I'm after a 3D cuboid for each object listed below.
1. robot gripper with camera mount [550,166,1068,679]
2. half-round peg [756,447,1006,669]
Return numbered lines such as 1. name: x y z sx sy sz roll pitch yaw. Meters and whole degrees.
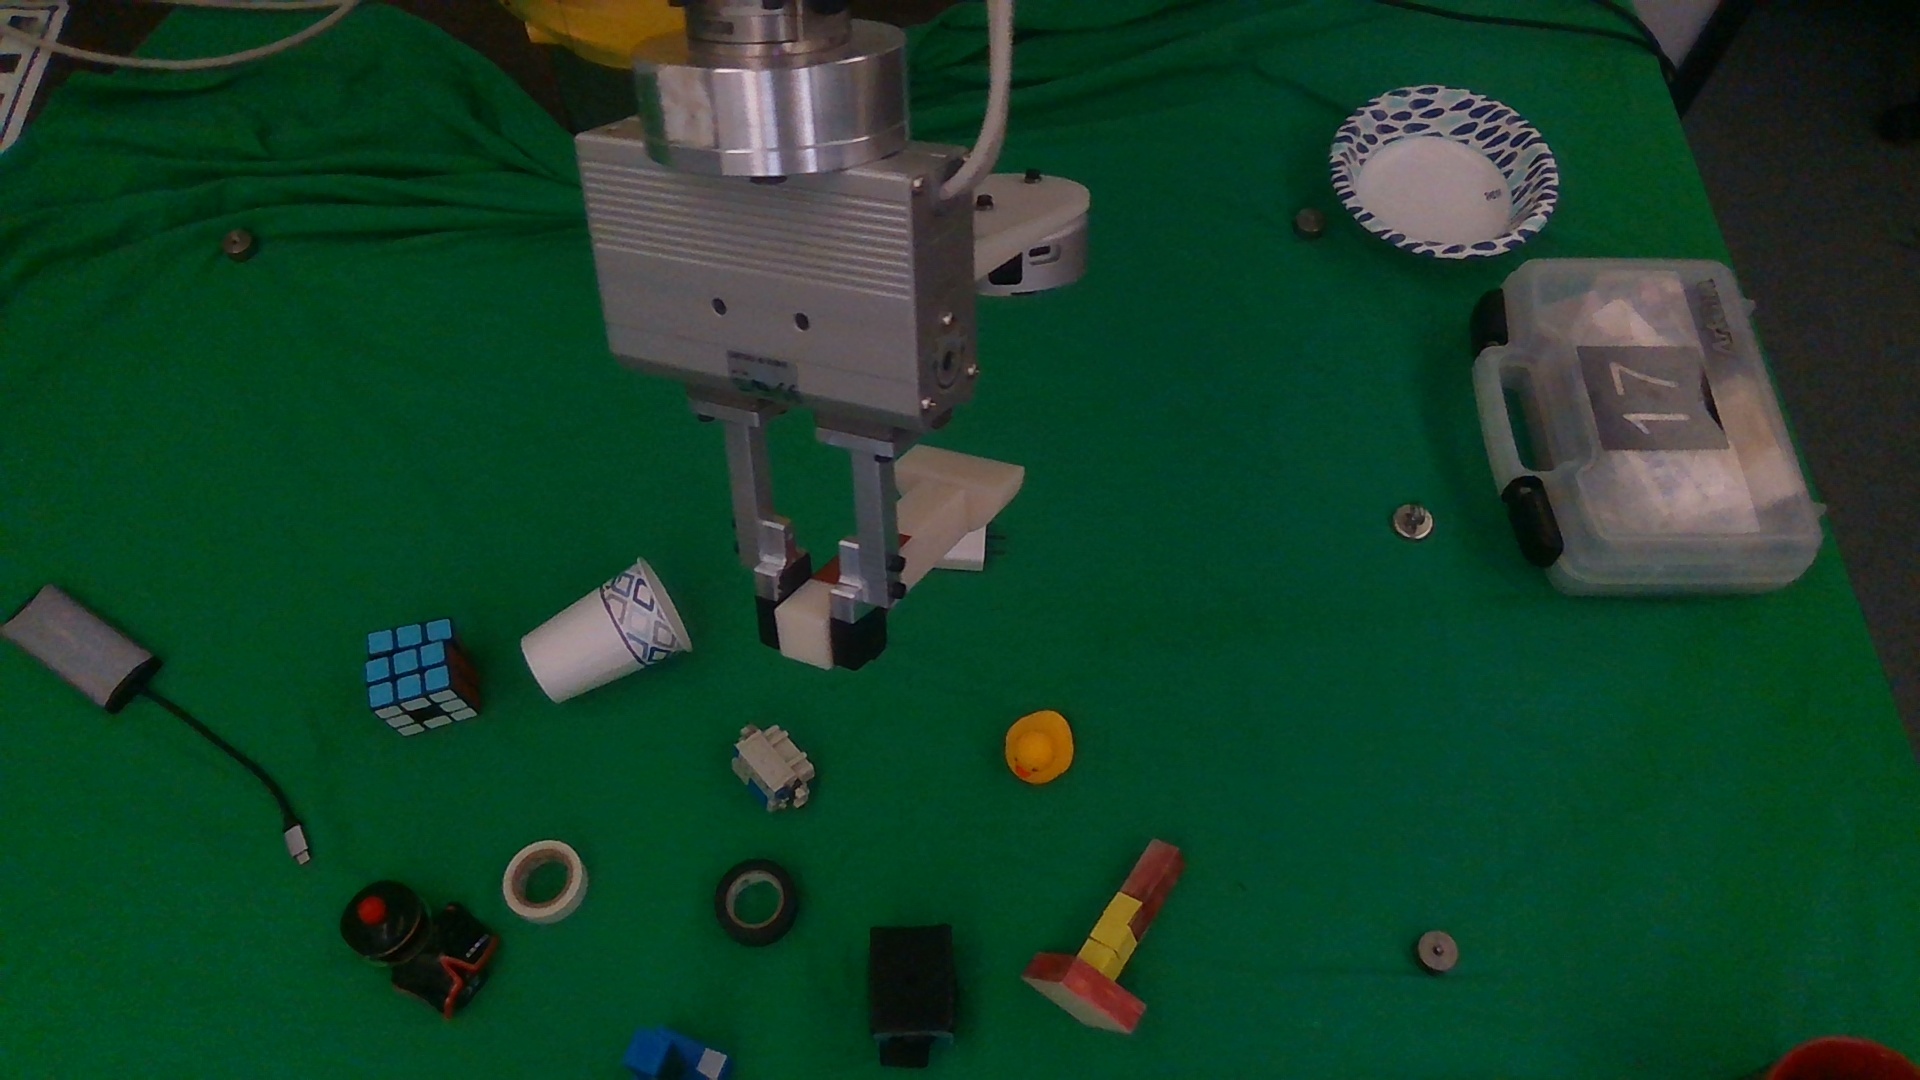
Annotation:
1. robot gripper with camera mount: -0.025 -0.064 0.501 0.119 0.158 0.193 12 30 25
2. half-round peg: -0.032 0.005 0.507 0.054 0.031 0.121 13 34 27
